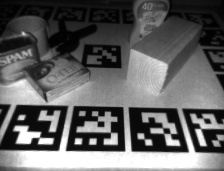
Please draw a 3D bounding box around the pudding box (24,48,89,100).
[{"bbox_3d":[-0.121,-0.029,0.487,0.115,0.039,0.089,-30,56,-30],"label":"pudding box"}]

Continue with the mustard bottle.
[{"bbox_3d":[0.090,-0.203,0.557,0.096,0.192,0.058,-4,48,-5],"label":"mustard bottle"}]

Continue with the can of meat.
[{"bbox_3d":[-0.218,-0.065,0.475,0.102,0.084,0.057,-23,53,-23],"label":"can of meat"}]

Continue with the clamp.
[{"bbox_3d":[-0.126,-0.149,0.605,0.121,0.037,0.165,17,50,9],"label":"clamp"}]

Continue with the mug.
[{"bbox_3d":[-0.208,-0.124,0.570,0.093,0.082,0.117,18,50,13],"label":"mug"}]

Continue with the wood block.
[{"bbox_3d":[0.130,-0.089,0.530,0.089,0.091,0.207,28,50,24],"label":"wood block"}]
